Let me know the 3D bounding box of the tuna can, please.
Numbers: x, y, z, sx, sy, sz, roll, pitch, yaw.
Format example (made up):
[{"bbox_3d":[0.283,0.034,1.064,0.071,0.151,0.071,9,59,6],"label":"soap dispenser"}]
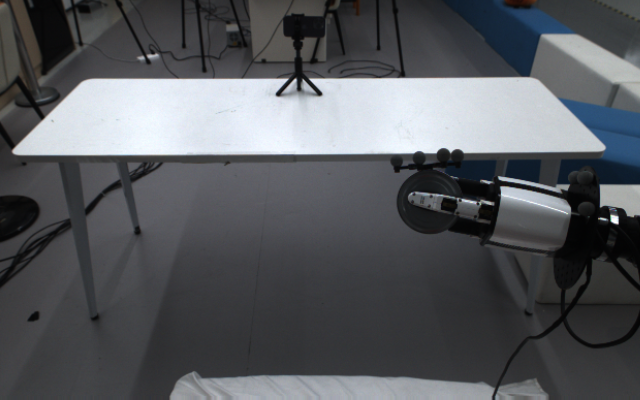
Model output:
[{"bbox_3d":[0.148,0.001,0.653,0.085,0.085,0.034,10,3,11],"label":"tuna can"}]
